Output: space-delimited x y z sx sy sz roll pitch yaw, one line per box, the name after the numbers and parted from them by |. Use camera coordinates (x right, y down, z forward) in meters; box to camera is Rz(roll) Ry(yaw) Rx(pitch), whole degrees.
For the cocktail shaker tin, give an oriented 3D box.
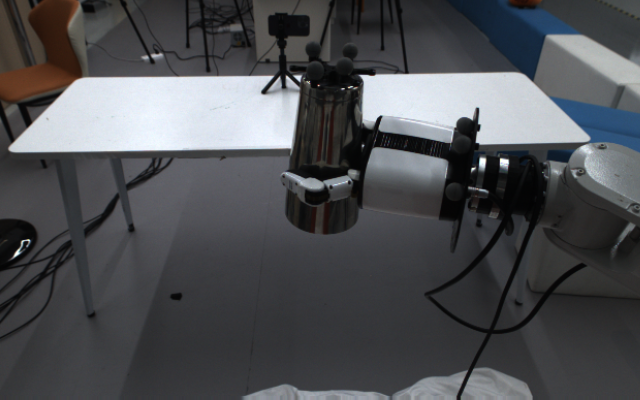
0.011 -0.057 0.551 0.093 0.170 0.093 3 34 -2 | cocktail shaker tin
